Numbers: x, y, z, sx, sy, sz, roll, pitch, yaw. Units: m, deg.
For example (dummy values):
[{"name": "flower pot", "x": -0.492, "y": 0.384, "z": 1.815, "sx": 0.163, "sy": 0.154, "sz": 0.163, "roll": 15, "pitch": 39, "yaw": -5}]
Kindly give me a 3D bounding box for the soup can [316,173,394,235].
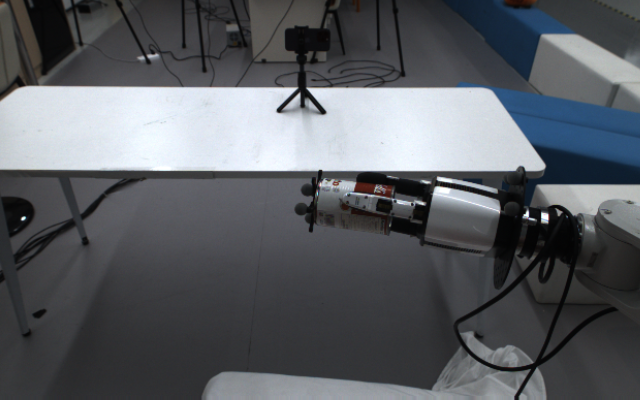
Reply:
[{"name": "soup can", "x": 0.050, "y": 0.008, "z": 0.661, "sx": 0.101, "sy": 0.067, "sz": 0.067, "roll": 7, "pitch": 35, "yaw": 10}]
